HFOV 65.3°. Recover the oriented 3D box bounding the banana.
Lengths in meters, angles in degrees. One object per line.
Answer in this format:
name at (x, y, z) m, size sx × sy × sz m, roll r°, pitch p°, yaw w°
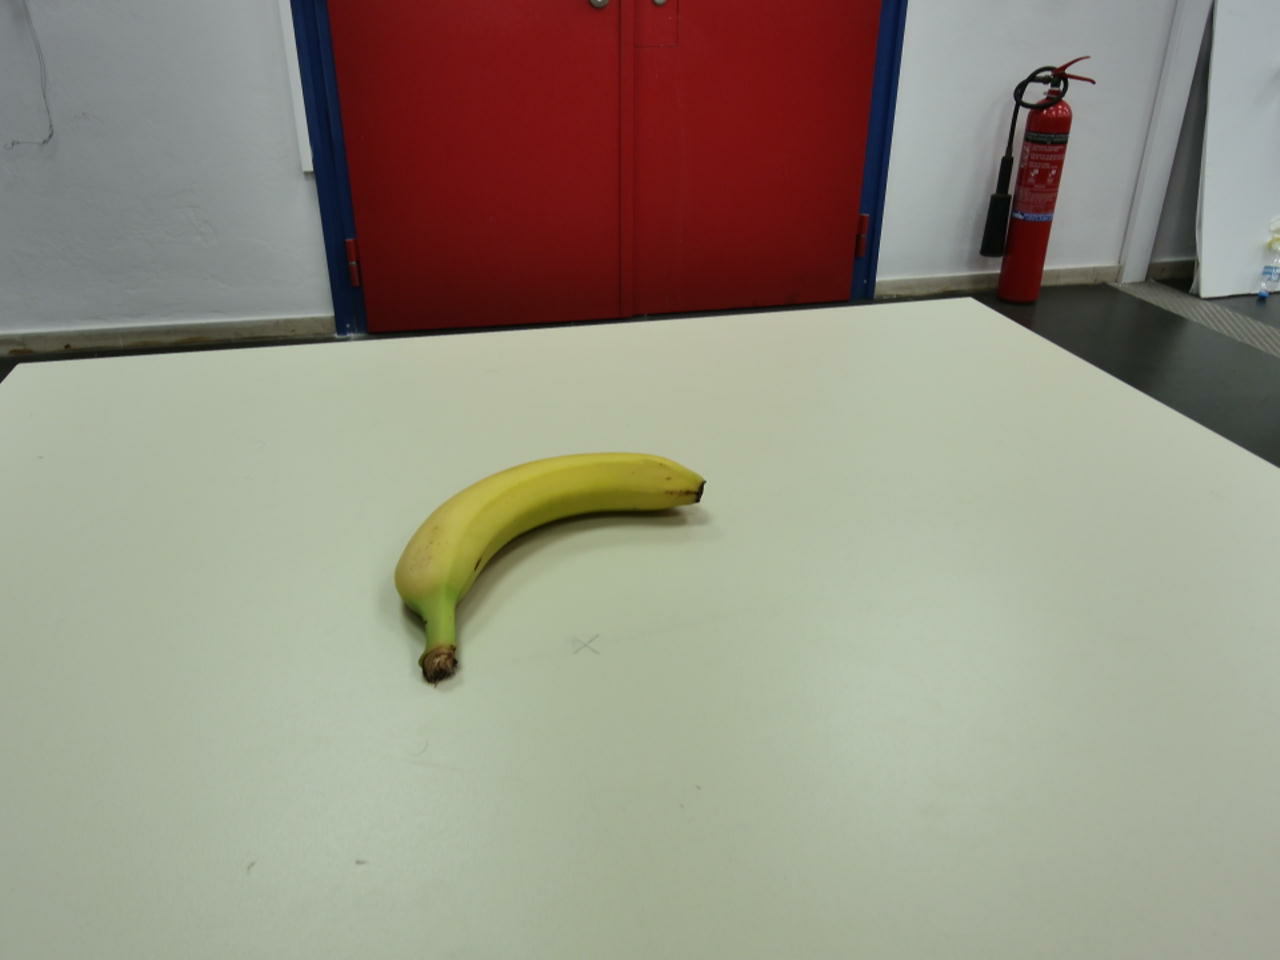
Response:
banana at (-0.058, 0.026, 0.515) m, size 0.094 × 0.041 × 0.196 m, roll 21°, pitch 32°, yaw 36°
